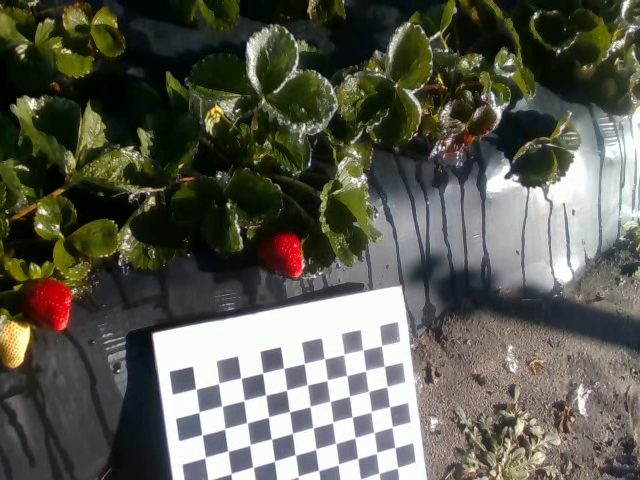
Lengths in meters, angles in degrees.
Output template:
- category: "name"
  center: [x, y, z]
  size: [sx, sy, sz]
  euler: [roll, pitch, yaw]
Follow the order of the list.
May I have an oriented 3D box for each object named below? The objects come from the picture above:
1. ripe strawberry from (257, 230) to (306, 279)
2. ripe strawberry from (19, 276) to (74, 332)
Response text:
- category: "ripe strawberry"
  center: [-0.036, 0.018, 0.624]
  size: [0.048, 0.061, 0.044]
  euler: [-17, -27, -21]
- category: "ripe strawberry"
  center: [-0.246, 0.066, 0.547]
  size: [0.042, 0.061, 0.046]
  euler: [-25, -33, -20]
